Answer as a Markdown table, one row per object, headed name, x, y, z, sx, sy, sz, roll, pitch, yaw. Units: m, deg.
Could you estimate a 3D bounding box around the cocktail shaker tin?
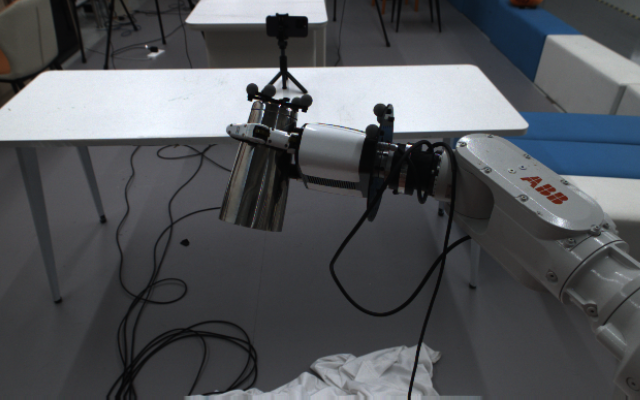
| name | x | y | z | sx | sy | sz | roll | pitch | yaw |
| --- | --- | --- | --- | --- | --- | --- | --- | --- | --- |
| cocktail shaker tin | -0.078 | -0.050 | 0.687 | 0.093 | 0.170 | 0.093 | 13 | 1 | 0 |
